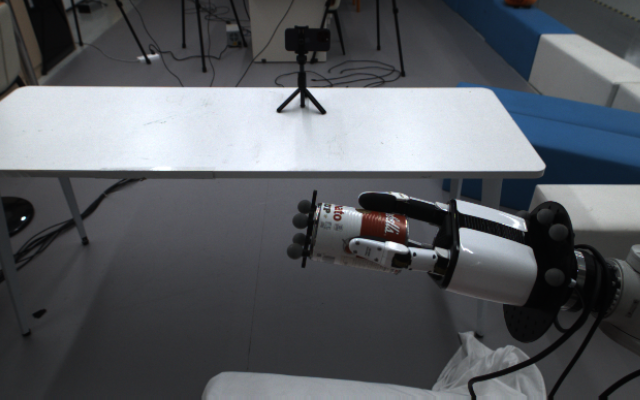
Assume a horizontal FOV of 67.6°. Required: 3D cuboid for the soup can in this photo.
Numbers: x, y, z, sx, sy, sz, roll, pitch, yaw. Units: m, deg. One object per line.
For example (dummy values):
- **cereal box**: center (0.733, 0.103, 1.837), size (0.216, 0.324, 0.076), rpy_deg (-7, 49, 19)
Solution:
- **soup can**: center (0.046, 0.042, 0.546), size (0.101, 0.067, 0.067), rpy_deg (9, 35, 0)
